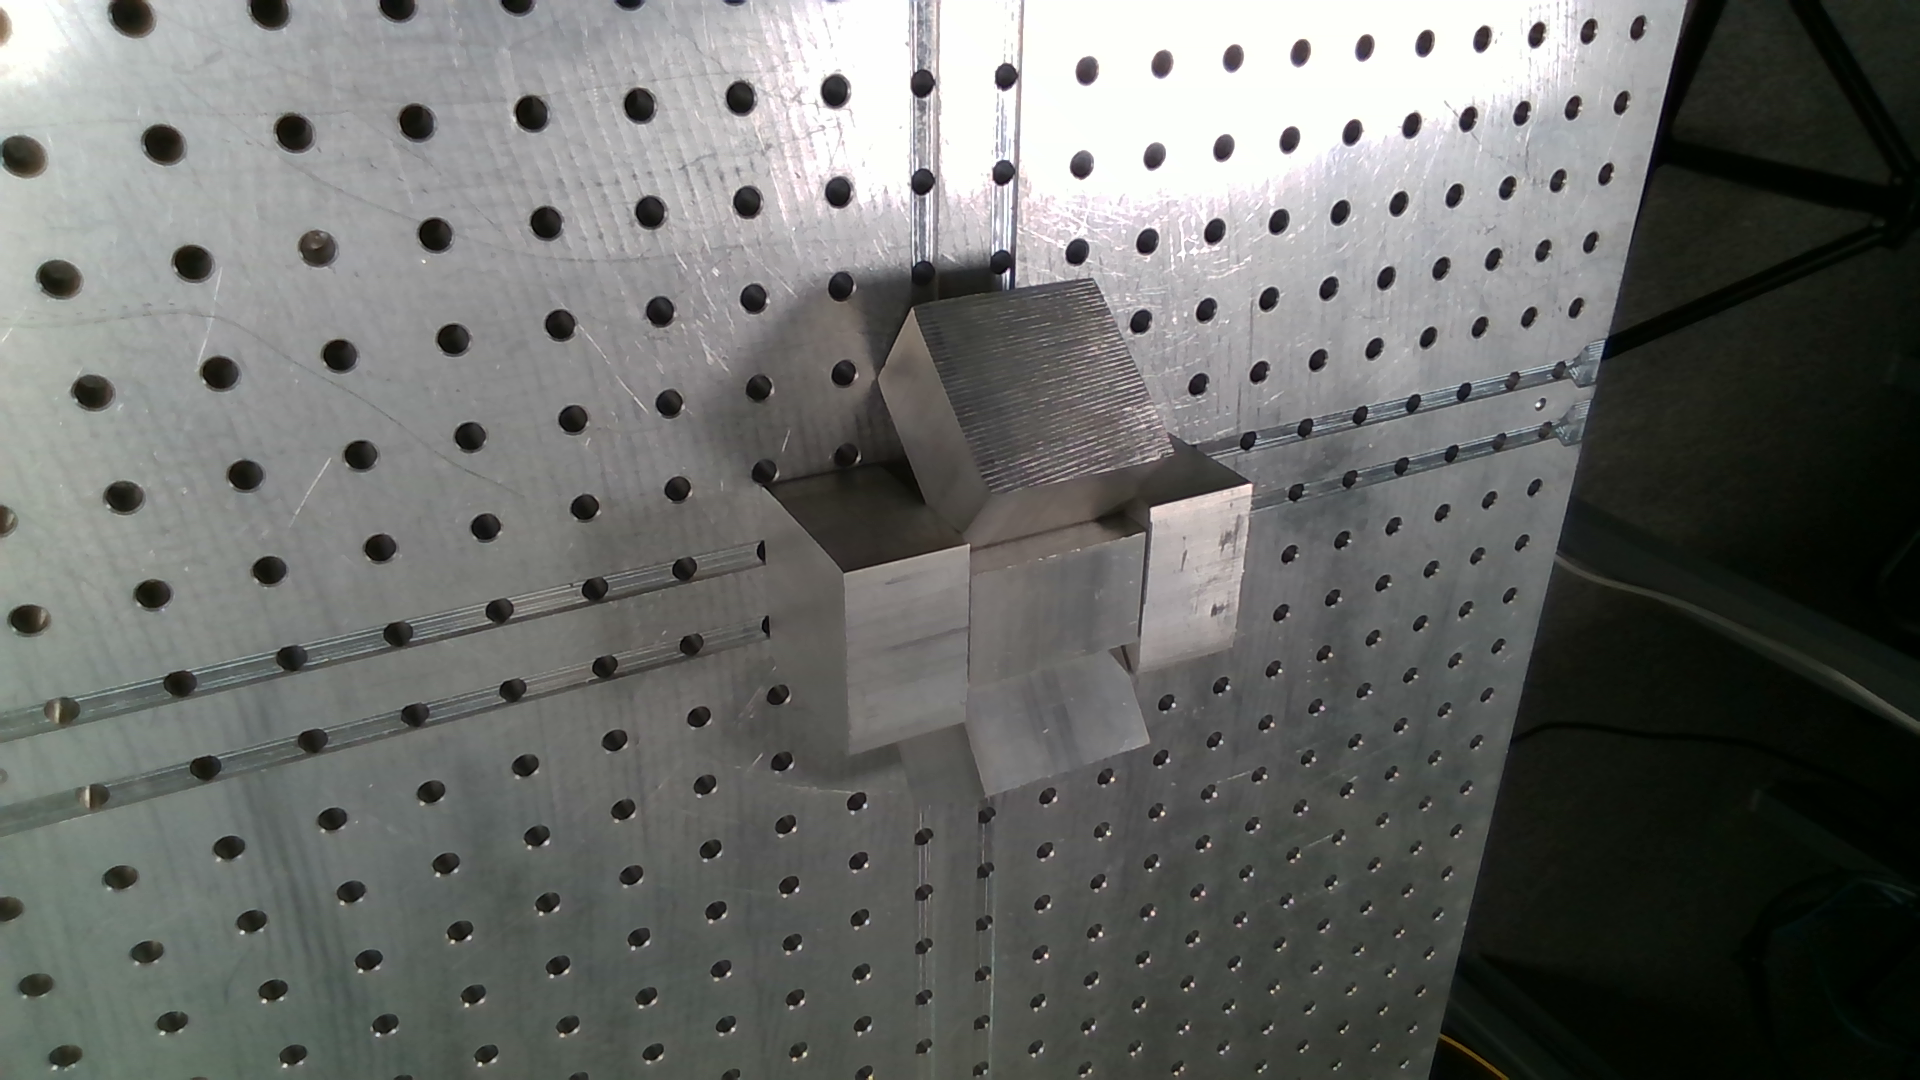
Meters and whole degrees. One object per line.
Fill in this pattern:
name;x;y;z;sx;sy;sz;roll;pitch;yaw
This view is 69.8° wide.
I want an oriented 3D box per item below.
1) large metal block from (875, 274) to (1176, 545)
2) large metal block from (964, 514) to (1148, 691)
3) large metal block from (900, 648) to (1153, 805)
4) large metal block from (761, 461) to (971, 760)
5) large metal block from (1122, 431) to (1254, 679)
large metal block;0.023;-0.049;0.528;0.080;0.080;0.050;-13;160;-25
large metal block;0.019;0.011;0.564;0.080;0.080;0.050;-13;121;-25
large metal block;0.022;0.076;0.592;0.080;0.080;0.050;-14;84;-26
large metal block;-0.037;0.025;0.537;0.050;0.080;0.080;-14;121;-25
large metal block;0.077;0.001;0.594;0.050;0.080;0.080;-14;121;-25
